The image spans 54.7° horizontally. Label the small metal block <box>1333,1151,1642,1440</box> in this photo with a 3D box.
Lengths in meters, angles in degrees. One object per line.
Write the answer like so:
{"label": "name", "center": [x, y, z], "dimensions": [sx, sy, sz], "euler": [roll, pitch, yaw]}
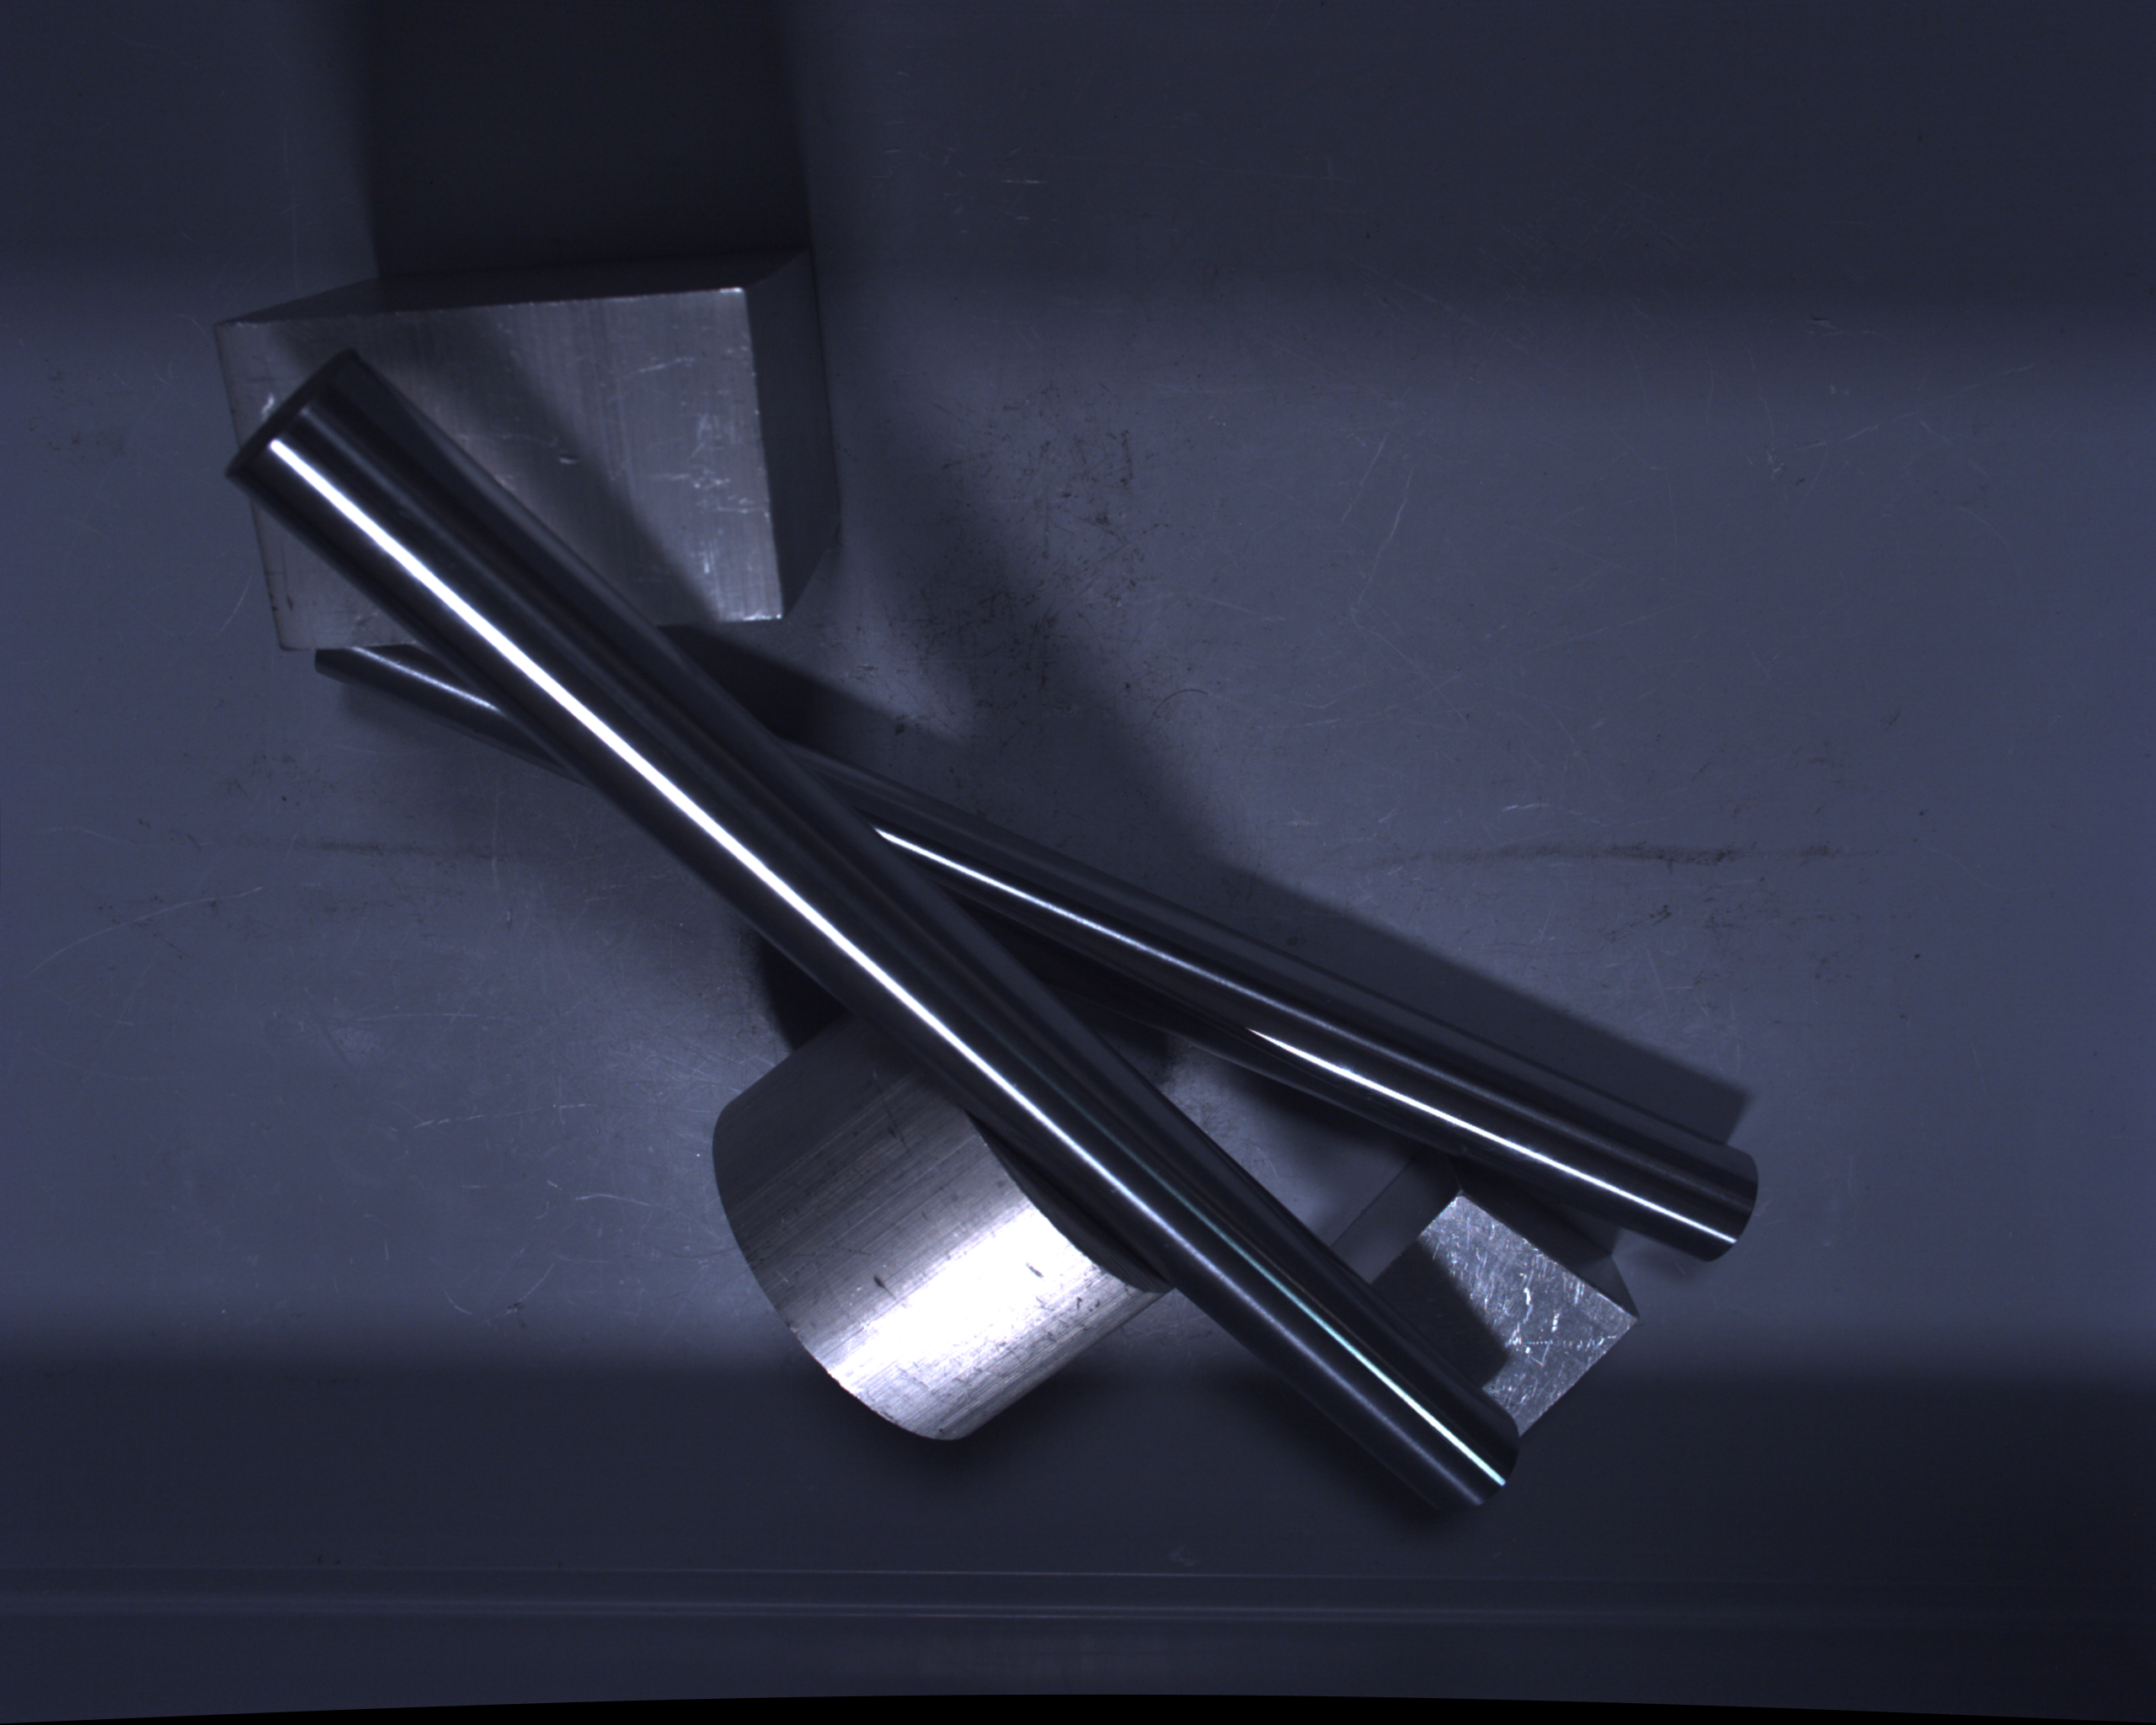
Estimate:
{"label": "small metal block", "center": [0.082, 0.095, 0.446], "dimensions": [0.050, 0.025, 0.050], "euler": [36, 106, -13]}

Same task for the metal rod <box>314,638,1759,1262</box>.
{"label": "metal rod", "center": [-0.001, 0.013, 0.415], "dimensions": [0.302, 0.025, 0.025], "euler": [24, 108, -9]}

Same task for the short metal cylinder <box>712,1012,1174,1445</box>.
{"label": "short metal cylinder", "center": [-0.024, 0.064, 0.403], "dimensions": [0.050, 0.080, 0.080], "euler": [-38, 106, 12]}

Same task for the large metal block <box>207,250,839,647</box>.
{"label": "large metal block", "center": [-0.087, -0.073, 0.353], "dimensions": [0.081, 0.080, 0.050], "euler": [-3, 110, 1]}

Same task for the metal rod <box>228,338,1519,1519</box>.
{"label": "metal rod", "center": [-0.015, 0.030, 0.359], "dimensions": [0.025, 0.025, 0.300], "euler": [-38, 119, 13]}
